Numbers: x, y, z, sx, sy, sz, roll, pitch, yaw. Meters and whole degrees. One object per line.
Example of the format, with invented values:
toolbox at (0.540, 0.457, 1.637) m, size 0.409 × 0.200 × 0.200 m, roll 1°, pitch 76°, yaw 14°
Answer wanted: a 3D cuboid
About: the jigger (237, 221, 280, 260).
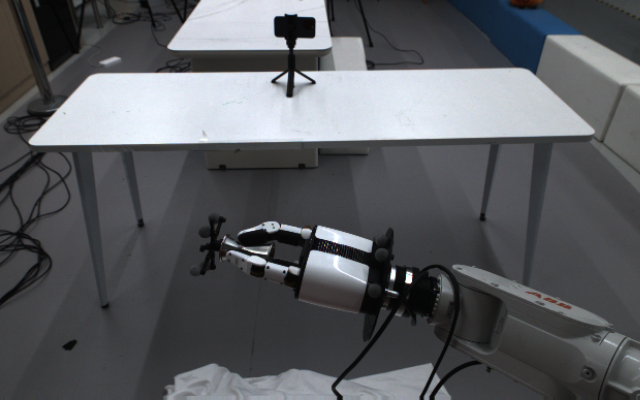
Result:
jigger at (-0.094, 0.070, 0.671) m, size 0.071 × 0.043 × 0.043 m, roll 11°, pitch 36°, yaw 5°
